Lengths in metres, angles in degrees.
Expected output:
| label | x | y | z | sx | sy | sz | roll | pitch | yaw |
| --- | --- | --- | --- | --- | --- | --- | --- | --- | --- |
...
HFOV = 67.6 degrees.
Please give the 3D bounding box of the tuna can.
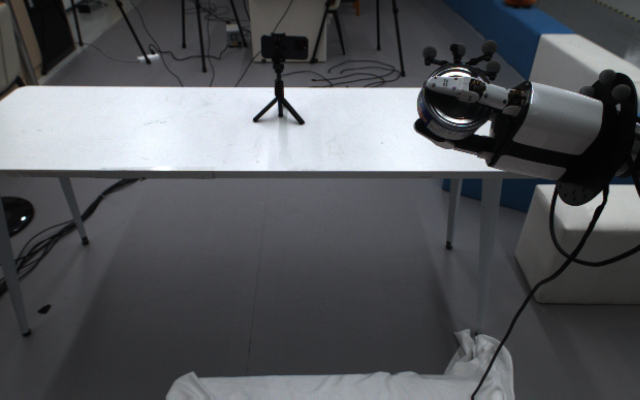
| label | x | y | z | sx | sy | sz | roll | pitch | yaw |
| --- | --- | --- | --- | --- | --- | --- | --- | --- | --- |
| tuna can | 0.161 | -0.121 | 0.574 | 0.085 | 0.034 | 0.085 | 1 | 72 | -4 |
